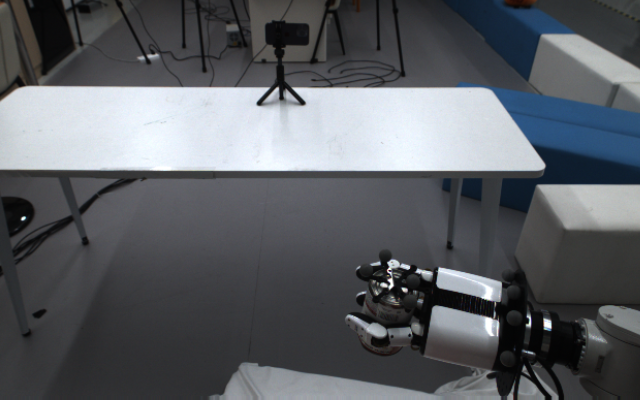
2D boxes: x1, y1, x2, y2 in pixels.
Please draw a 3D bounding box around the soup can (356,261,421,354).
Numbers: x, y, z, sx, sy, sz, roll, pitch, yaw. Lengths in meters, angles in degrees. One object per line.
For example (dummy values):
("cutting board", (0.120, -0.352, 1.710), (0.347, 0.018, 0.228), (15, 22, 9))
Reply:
("soup can", (0.092, 0.150, 0.647), (0.067, 0.101, 0.067), (5, 37, -4))
